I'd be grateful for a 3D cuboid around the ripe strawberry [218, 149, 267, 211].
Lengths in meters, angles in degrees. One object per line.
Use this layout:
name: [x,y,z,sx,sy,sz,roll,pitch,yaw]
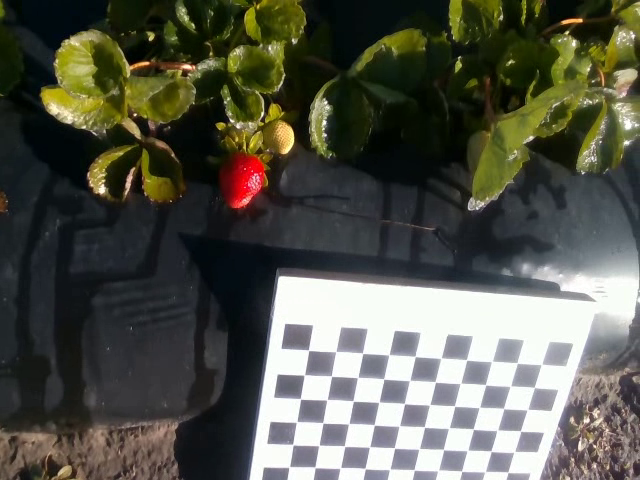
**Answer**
ripe strawberry: [-0.047,-0.032,0.387,0.039,0.039,0.040,0,-44,2]
